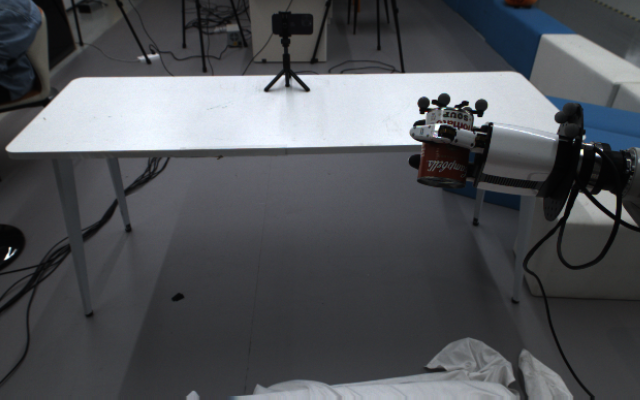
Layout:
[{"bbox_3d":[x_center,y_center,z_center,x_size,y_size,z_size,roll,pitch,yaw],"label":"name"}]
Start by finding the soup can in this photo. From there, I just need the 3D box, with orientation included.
[{"bbox_3d":[0.178,-0.073,0.682,0.067,0.101,0.067,9,-6,1],"label":"soup can"}]
